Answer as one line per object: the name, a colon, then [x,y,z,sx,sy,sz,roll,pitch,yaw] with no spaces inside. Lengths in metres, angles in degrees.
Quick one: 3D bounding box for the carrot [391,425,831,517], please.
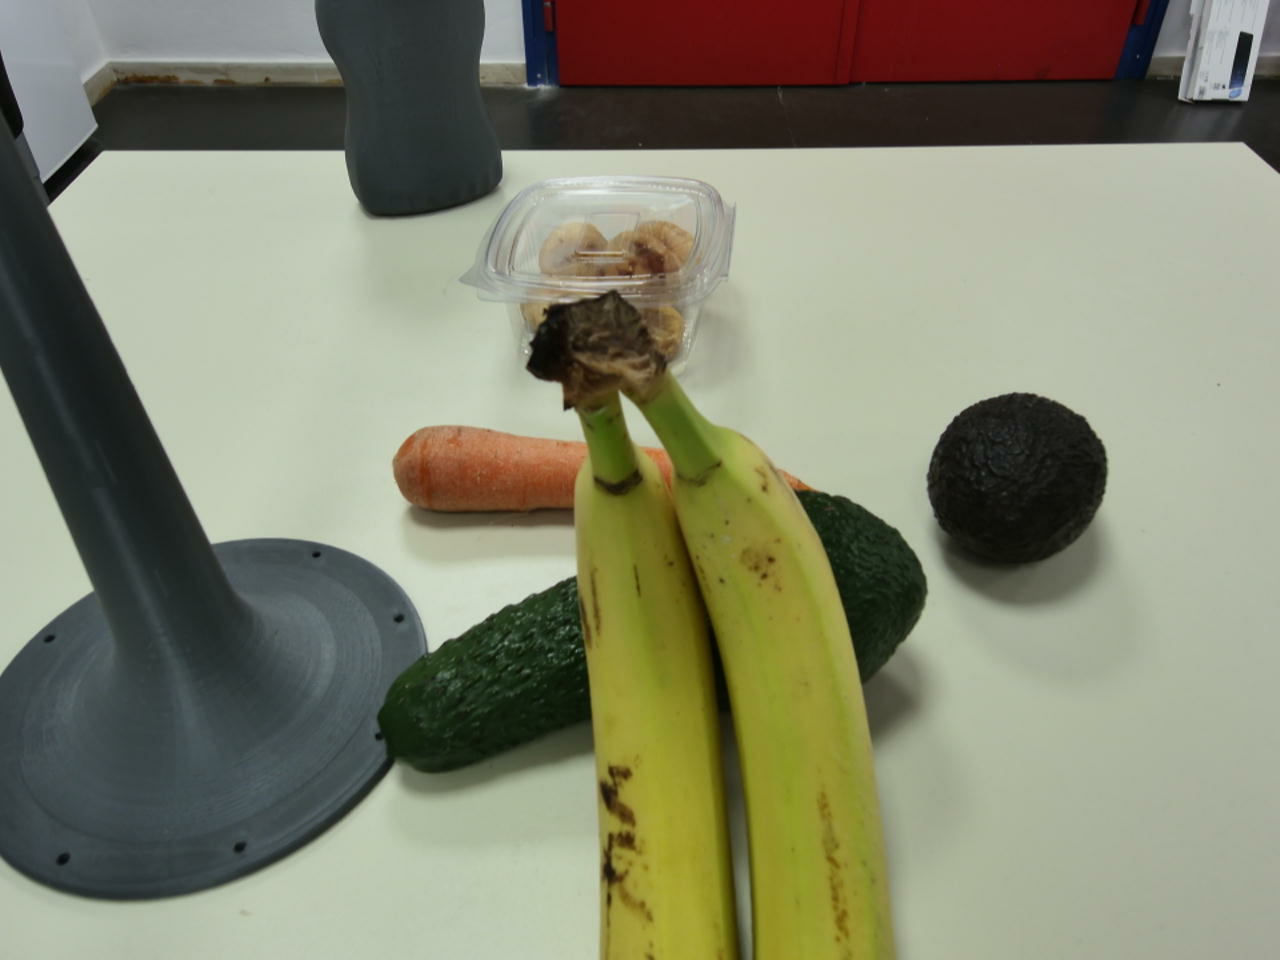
carrot: [-0.012,-0.004,0.447,0.196,0.041,0.039,0,38,0]
